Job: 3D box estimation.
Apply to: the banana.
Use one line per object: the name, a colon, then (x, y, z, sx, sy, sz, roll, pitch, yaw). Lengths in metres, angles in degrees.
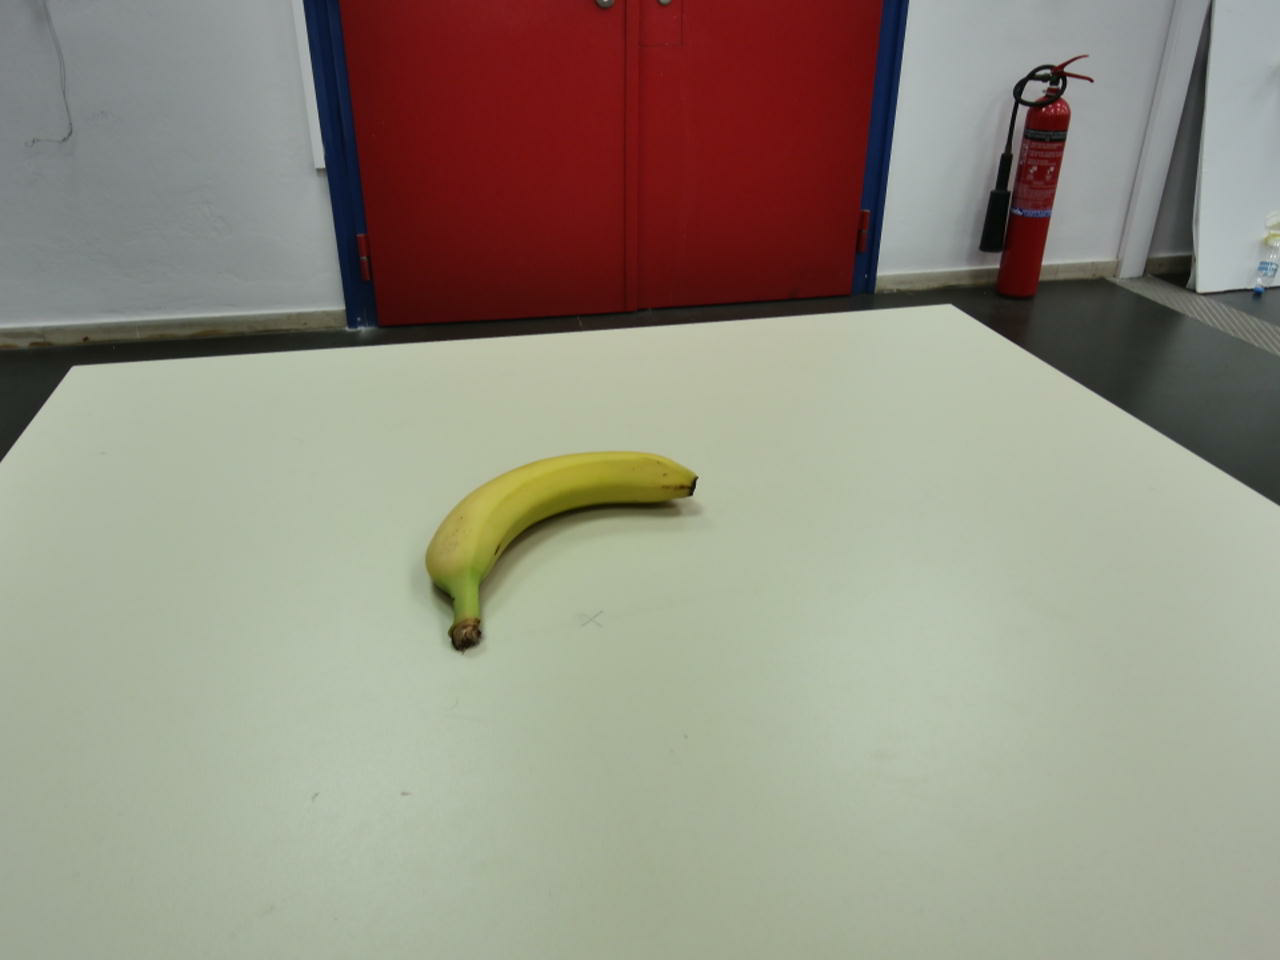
banana: (-0.058, 0.023, 0.585, 0.094, 0.041, 0.196, 21, 33, 36)
